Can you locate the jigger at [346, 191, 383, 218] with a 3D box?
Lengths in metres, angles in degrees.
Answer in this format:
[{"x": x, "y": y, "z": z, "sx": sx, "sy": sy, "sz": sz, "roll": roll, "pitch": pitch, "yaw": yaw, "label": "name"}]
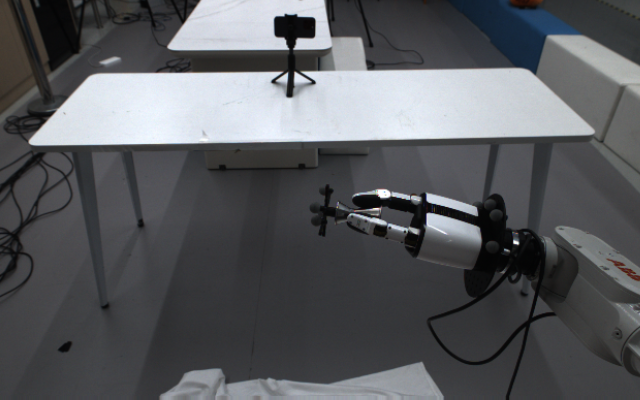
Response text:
[{"x": 0.066, "y": 0.018, "z": 0.744, "sx": 0.071, "sy": 0.043, "sz": 0.043, "roll": 7, "pitch": 35, "yaw": 8, "label": "jigger"}]
